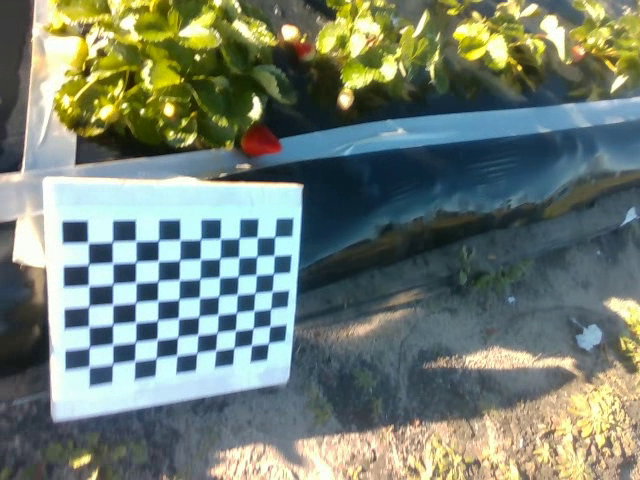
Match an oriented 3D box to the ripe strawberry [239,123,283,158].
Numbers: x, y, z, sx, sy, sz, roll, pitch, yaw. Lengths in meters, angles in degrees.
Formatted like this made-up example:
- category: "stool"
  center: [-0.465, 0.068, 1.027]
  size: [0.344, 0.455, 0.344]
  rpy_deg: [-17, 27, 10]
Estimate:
- category: "ripe strawberry"
  center: [-0.076, -0.127, 0.741]
  size: [0.063, 0.045, 0.048]
  rpy_deg: [24, -2, 30]
